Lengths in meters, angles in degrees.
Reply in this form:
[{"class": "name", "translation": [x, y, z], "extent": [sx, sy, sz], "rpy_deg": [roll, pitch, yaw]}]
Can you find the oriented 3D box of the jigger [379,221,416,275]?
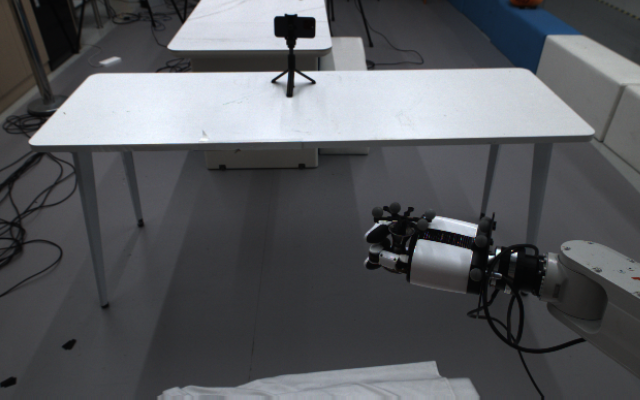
[{"class": "jigger", "translation": [0.127, 0.074, 0.759], "extent": [0.043, 0.071, 0.043], "rpy_deg": [3, 25, -1]}]
